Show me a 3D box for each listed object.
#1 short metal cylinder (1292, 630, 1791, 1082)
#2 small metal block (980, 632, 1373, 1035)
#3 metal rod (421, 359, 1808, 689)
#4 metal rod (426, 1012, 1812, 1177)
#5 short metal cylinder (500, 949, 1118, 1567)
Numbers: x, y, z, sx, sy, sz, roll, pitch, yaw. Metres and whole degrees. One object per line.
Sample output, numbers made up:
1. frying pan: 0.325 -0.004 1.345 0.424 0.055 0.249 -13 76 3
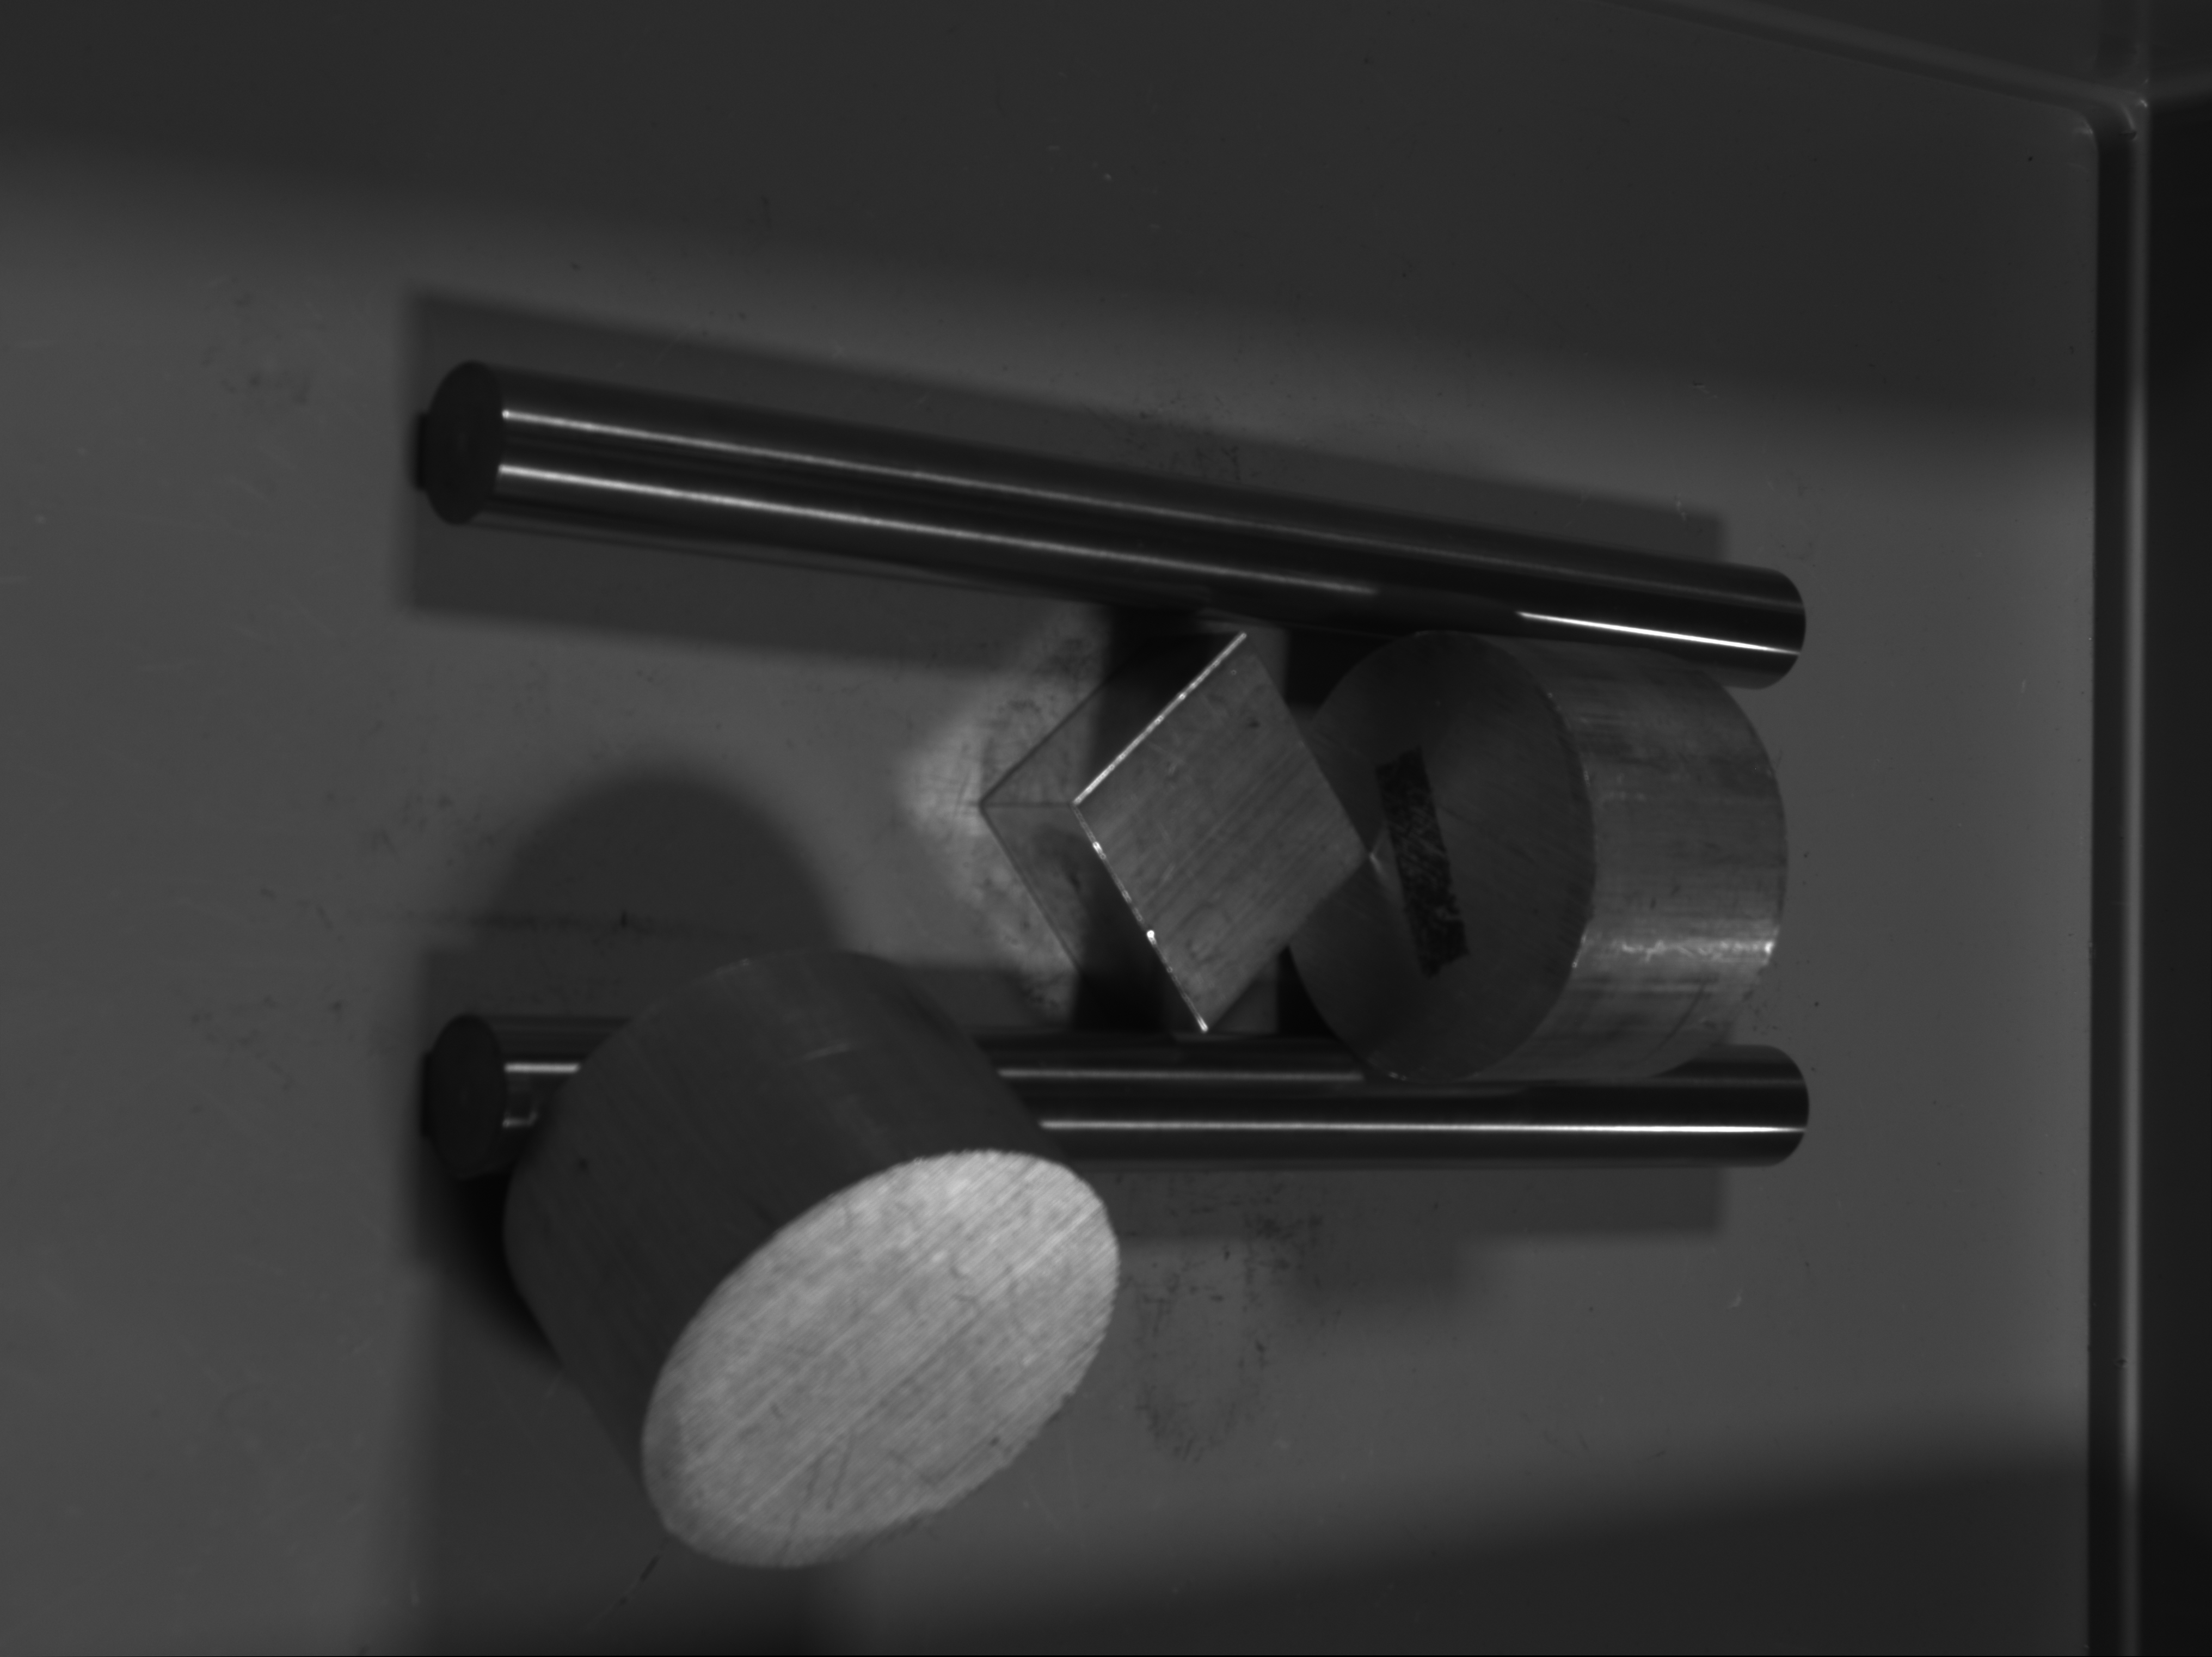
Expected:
1. short metal cylinder: 0.077 0.006 0.664 0.050 0.080 0.080 2 88 -40
2. small metal block: 0.013 0.001 0.647 0.050 0.025 0.050 -45 117 -30
3. metal rod: 0.018 -0.050 0.650 0.301 0.025 0.025 4 87 -40
4. metal rod: 0.019 0.048 0.651 0.301 0.025 0.025 4 87 -40
5. short metal cylinder: -0.045 0.066 0.559 0.080 0.050 0.080 -21 135 -23
